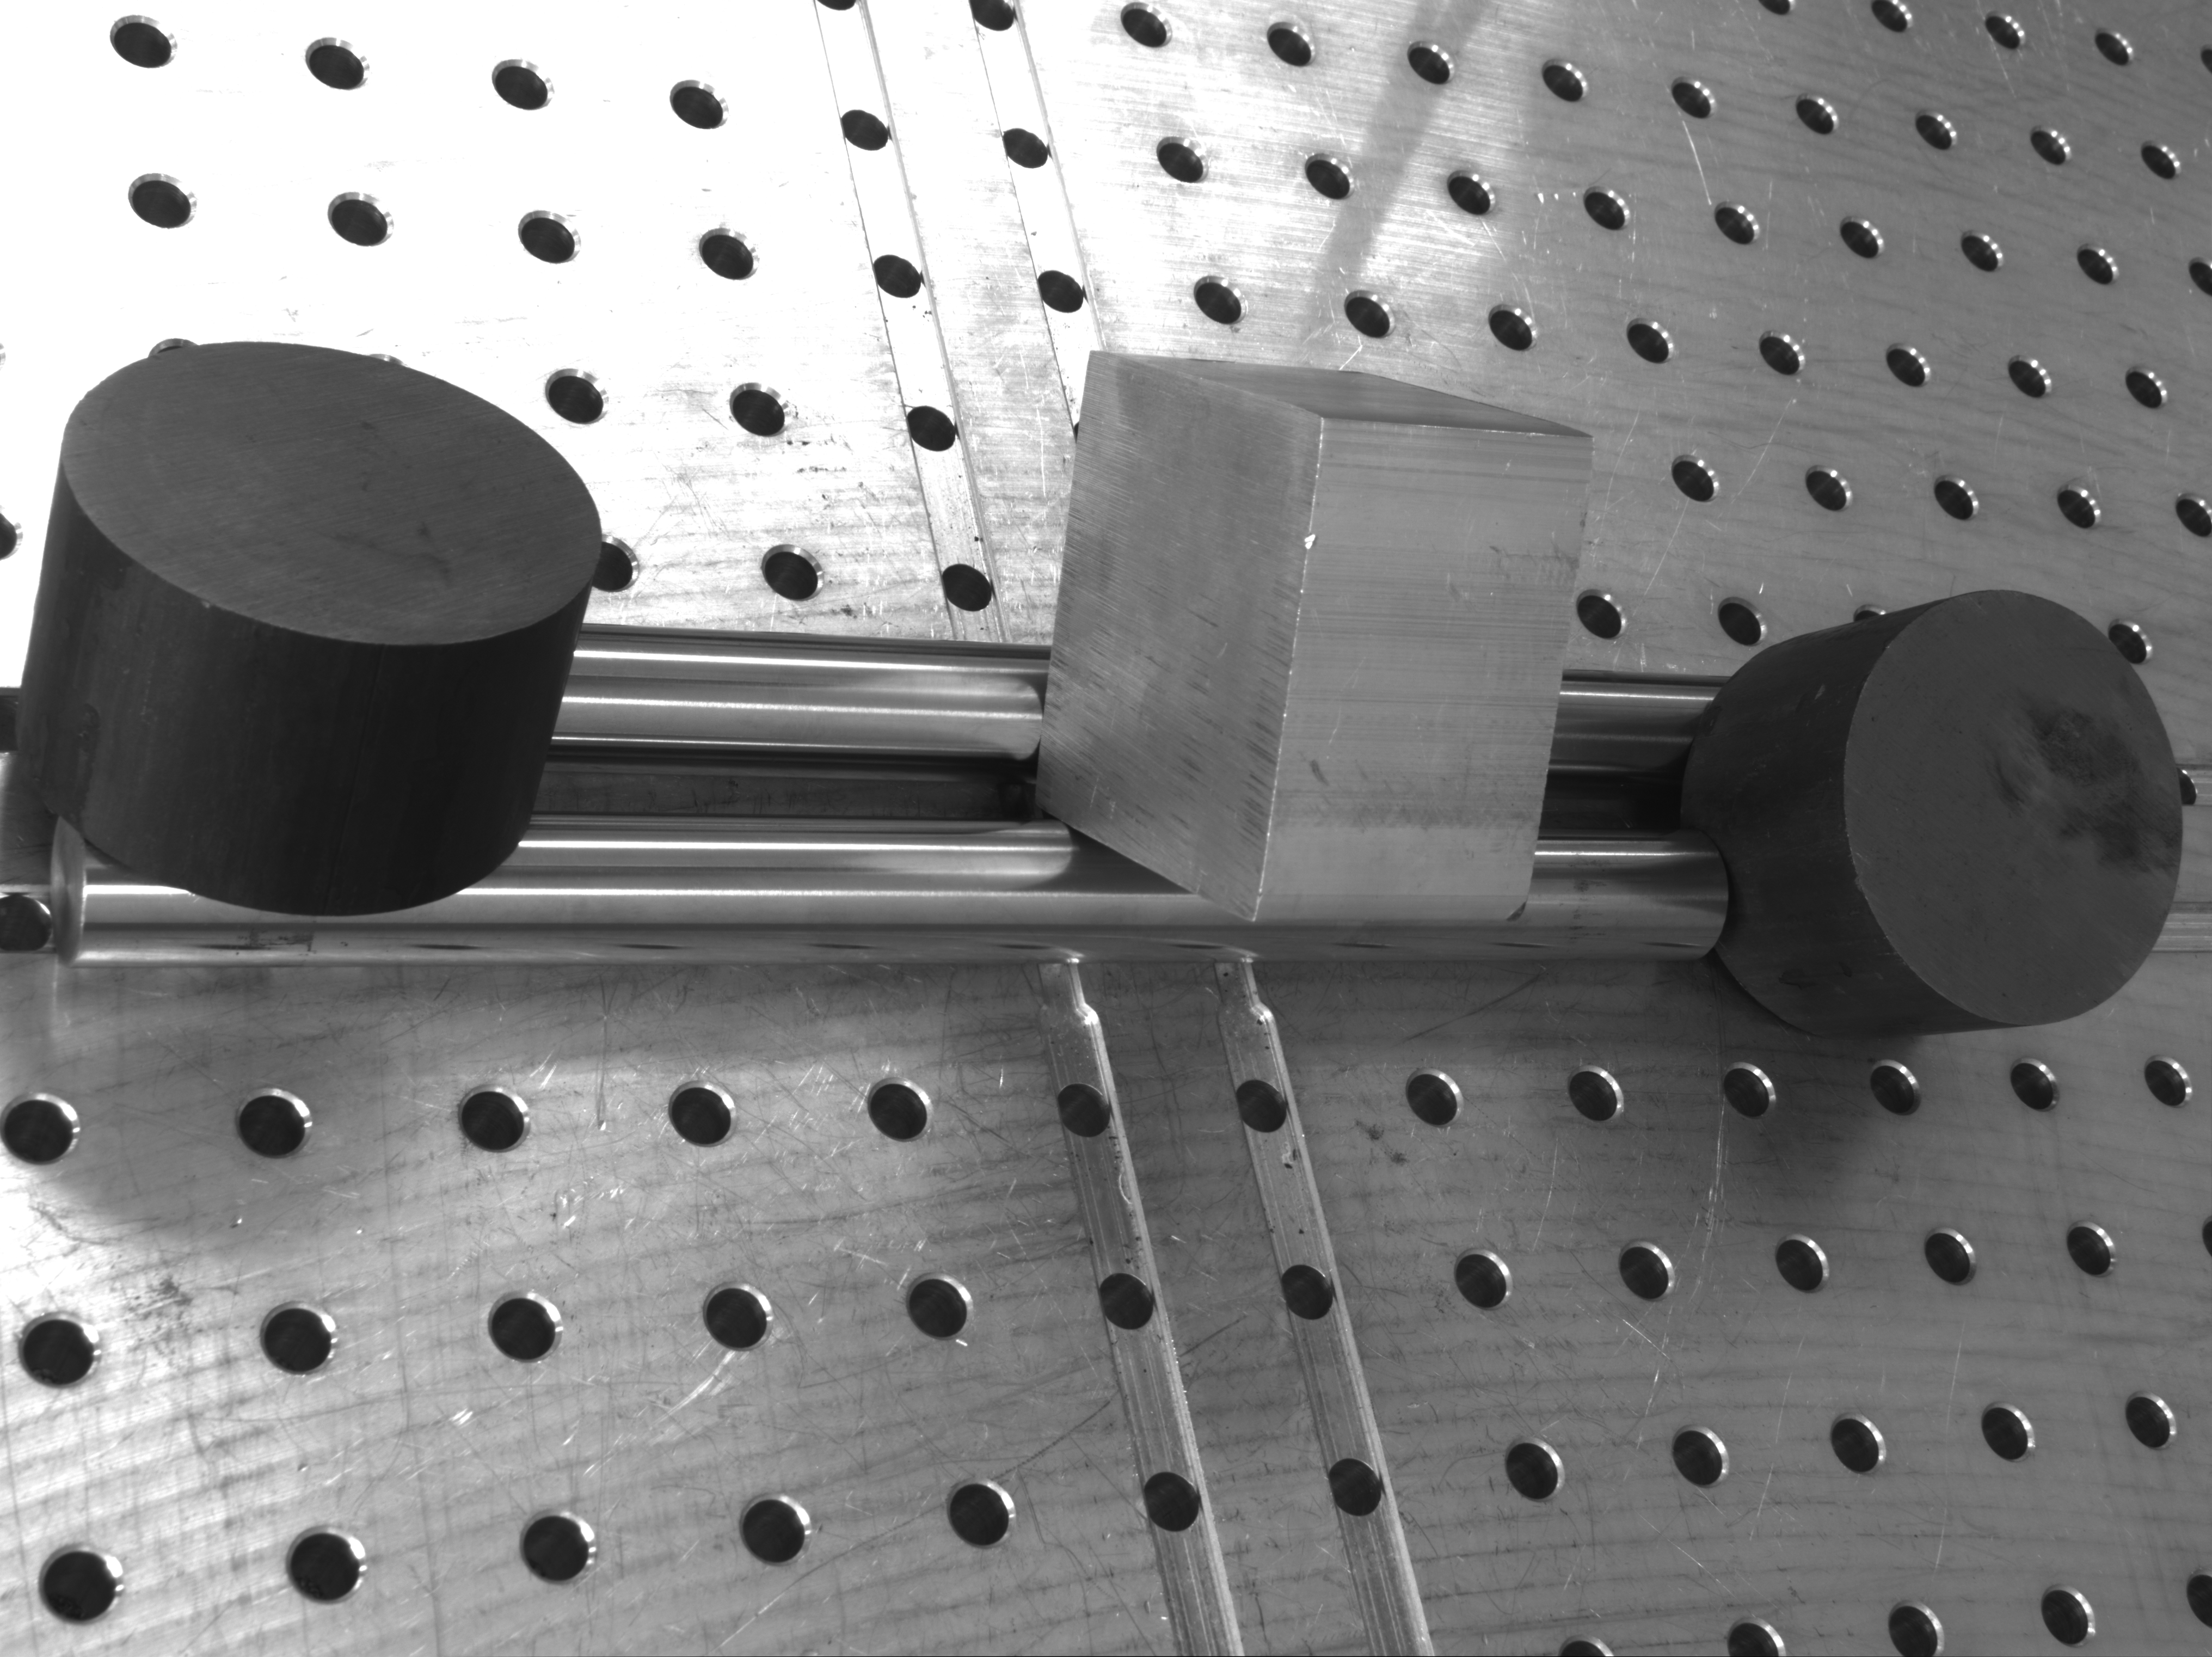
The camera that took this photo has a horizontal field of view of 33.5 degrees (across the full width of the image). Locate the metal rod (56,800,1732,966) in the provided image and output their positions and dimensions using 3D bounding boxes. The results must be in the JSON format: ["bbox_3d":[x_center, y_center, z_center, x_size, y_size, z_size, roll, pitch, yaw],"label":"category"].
[{"bbox_3d":[-0.023,0.010,0.623,0.301,0.025,0.025,1,61,-28],"label":"metal rod"}]

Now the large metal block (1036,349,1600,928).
[{"bbox_3d":[0.033,-0.033,0.606,0.050,0.080,0.080,1,103,-28],"label":"large metal block"}]

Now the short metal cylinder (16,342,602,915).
[{"bbox_3d":[-0.122,-0.032,0.562,0.080,0.050,0.080,14,34,-10],"label":"short metal cylinder"}]

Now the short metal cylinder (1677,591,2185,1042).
[{"bbox_3d":[0.155,-0.001,0.693,0.080,0.050,0.080,4,82,-27],"label":"short metal cylinder"}]

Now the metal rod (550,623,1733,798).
[{"bbox_3d":[0.036,-0.020,0.673,0.301,0.025,0.025,1,61,-28],"label":"metal rod"}]
